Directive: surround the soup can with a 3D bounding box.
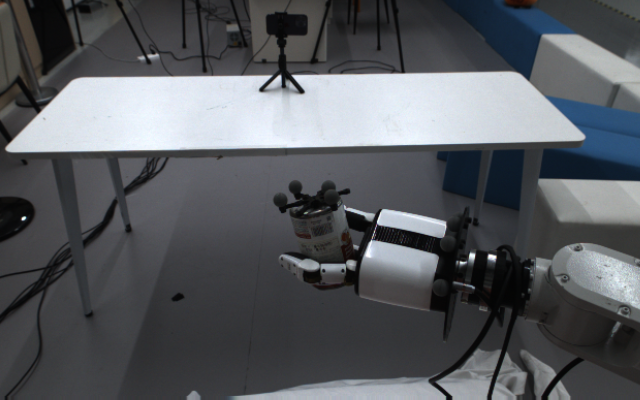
[{"bbox_3d":[0.008,0.051,0.599,0.067,0.101,0.067,-13,20,5],"label":"soup can"}]
